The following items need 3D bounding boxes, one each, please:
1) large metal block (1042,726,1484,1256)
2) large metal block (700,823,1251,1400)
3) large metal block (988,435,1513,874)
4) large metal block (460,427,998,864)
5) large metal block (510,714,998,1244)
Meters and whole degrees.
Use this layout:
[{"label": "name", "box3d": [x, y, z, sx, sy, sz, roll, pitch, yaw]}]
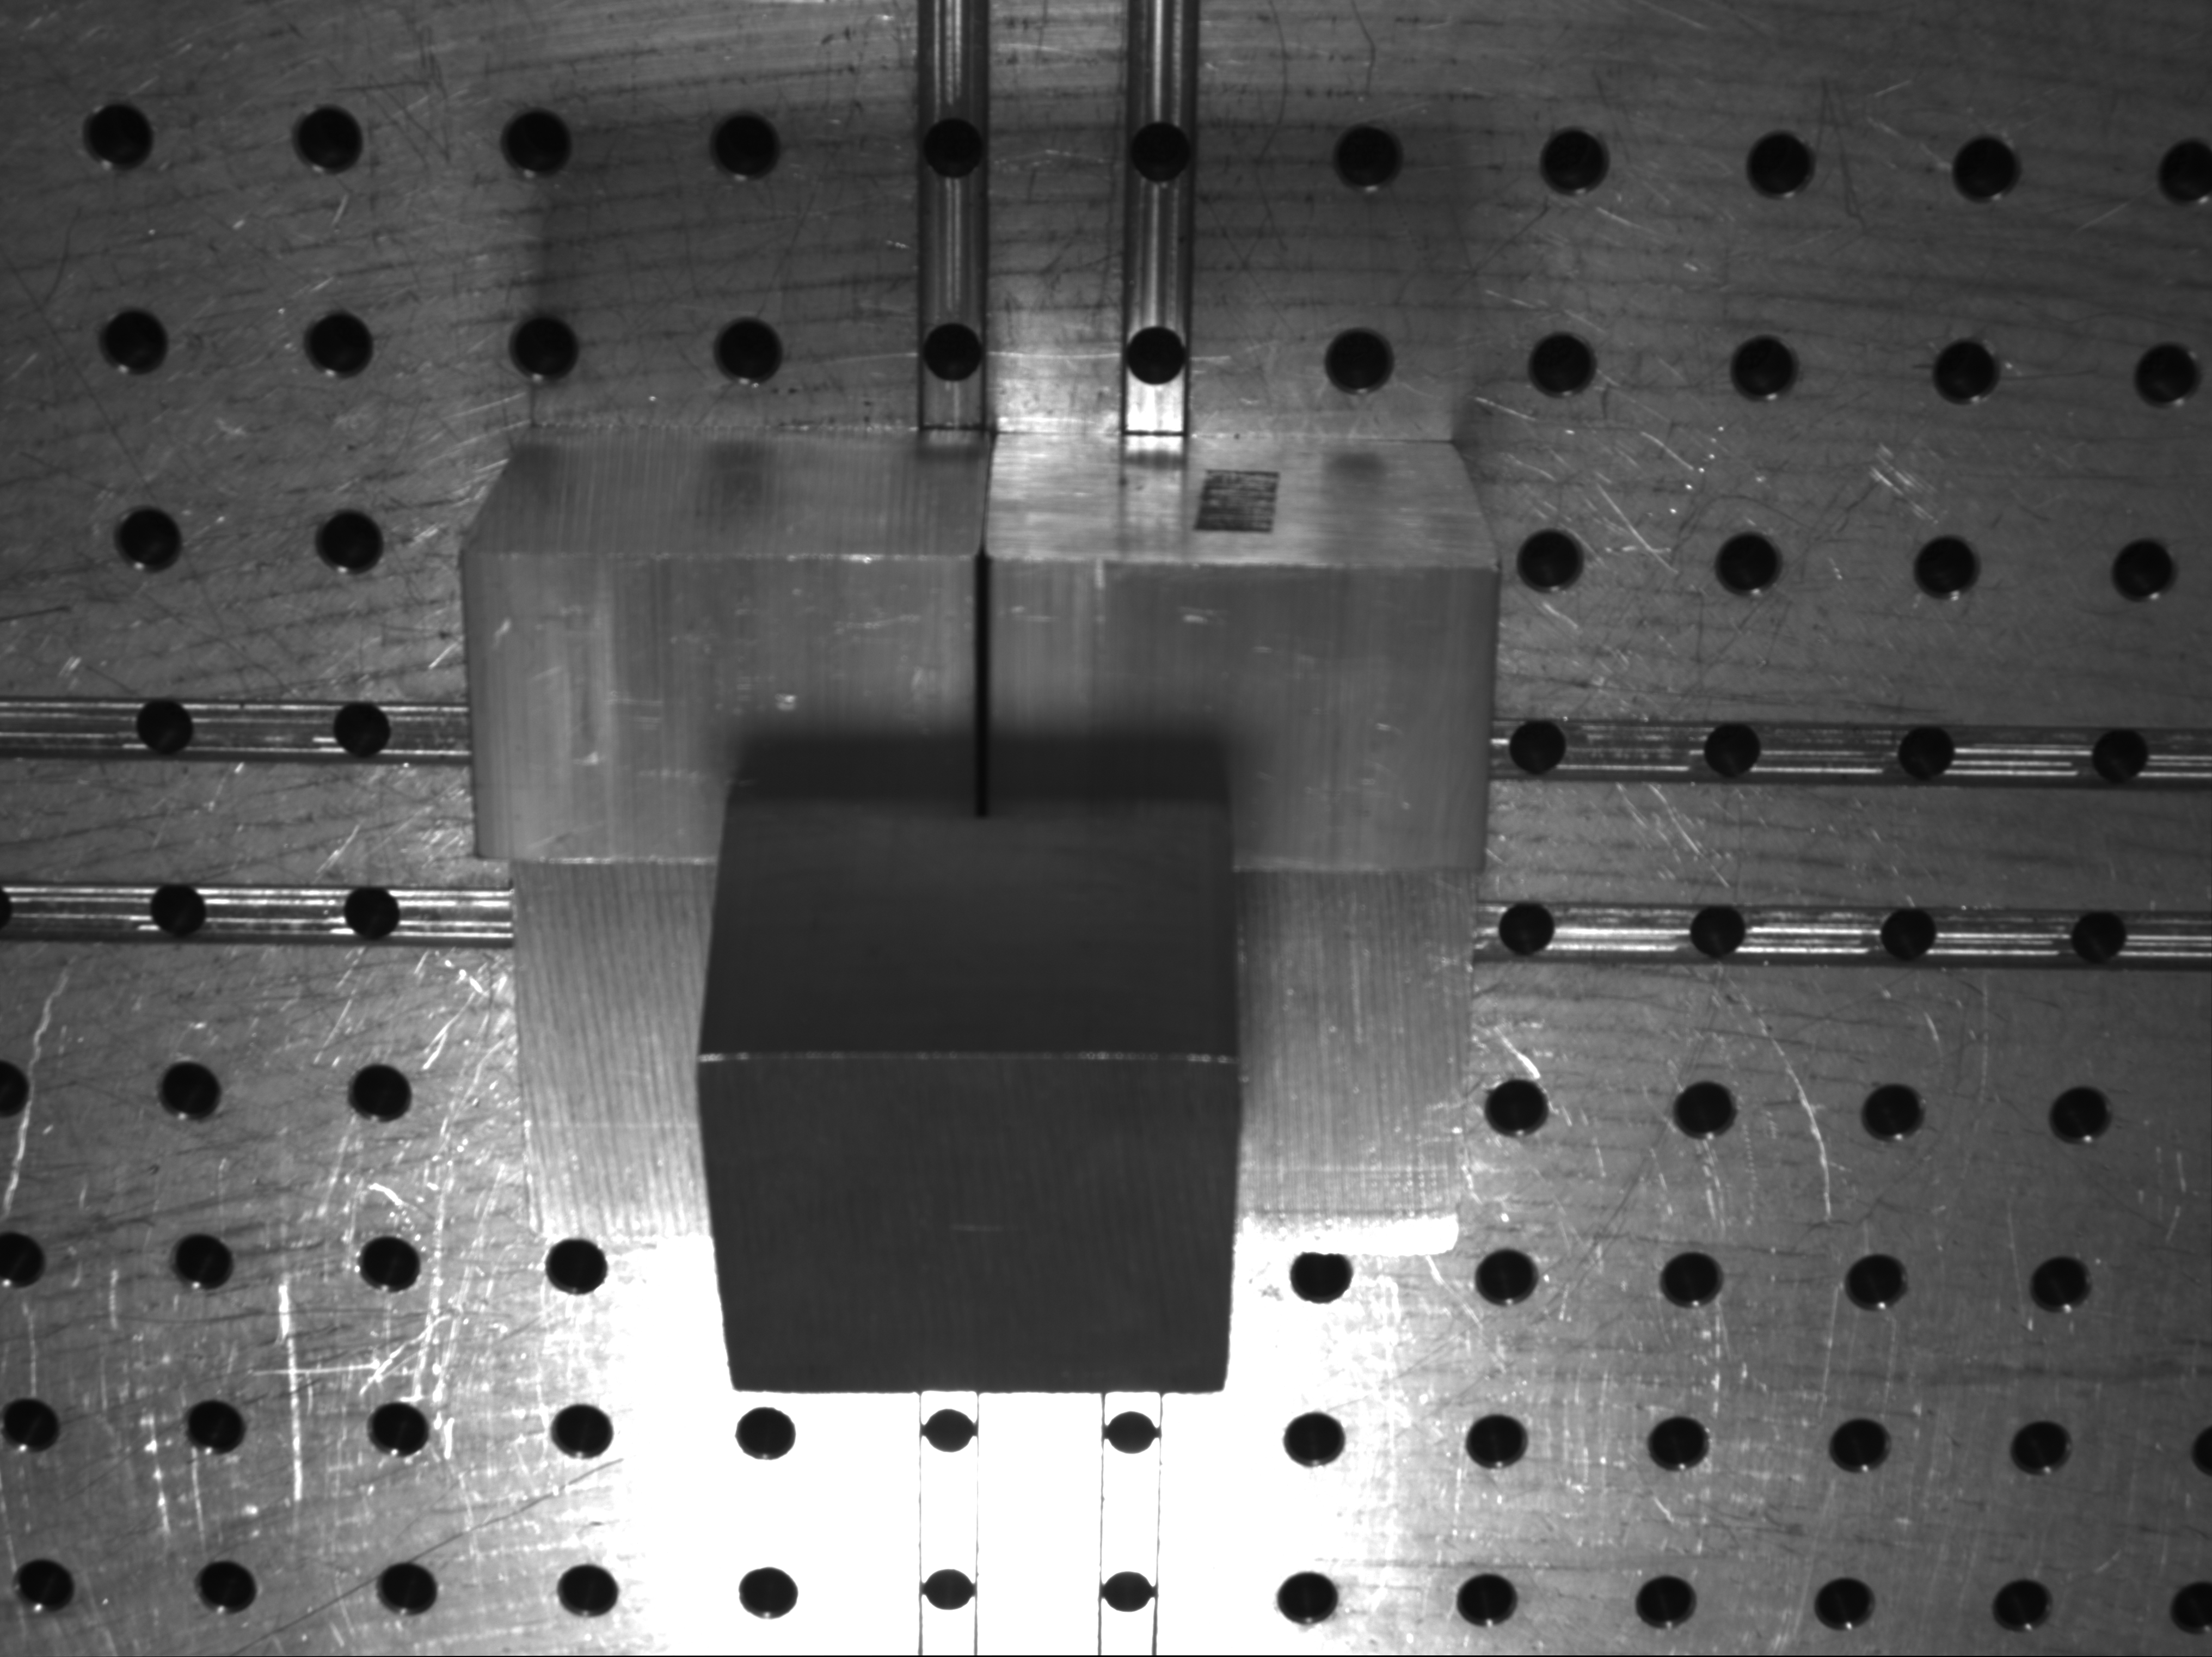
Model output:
[{"label": "large metal block", "box3d": [0.022, 0.027, 0.640, 0.080, 0.050, 0.080, 1, 110, -1]}, {"label": "large metal block", "box3d": [-0.019, 0.045, 0.578, 0.080, 0.050, 0.080, 0, 134, -1]}, {"label": "large metal block", "box3d": [0.022, -0.031, 0.604, 0.080, 0.080, 0.050, 1, 110, -1]}, {"label": "large metal block", "box3d": [-0.059, -0.032, 0.603, 0.080, 0.080, 0.050, 1, 110, -1]}, {"label": "large metal block", "box3d": [-0.059, 0.025, 0.639, 0.080, 0.050, 0.080, 1, 110, -1]}]
